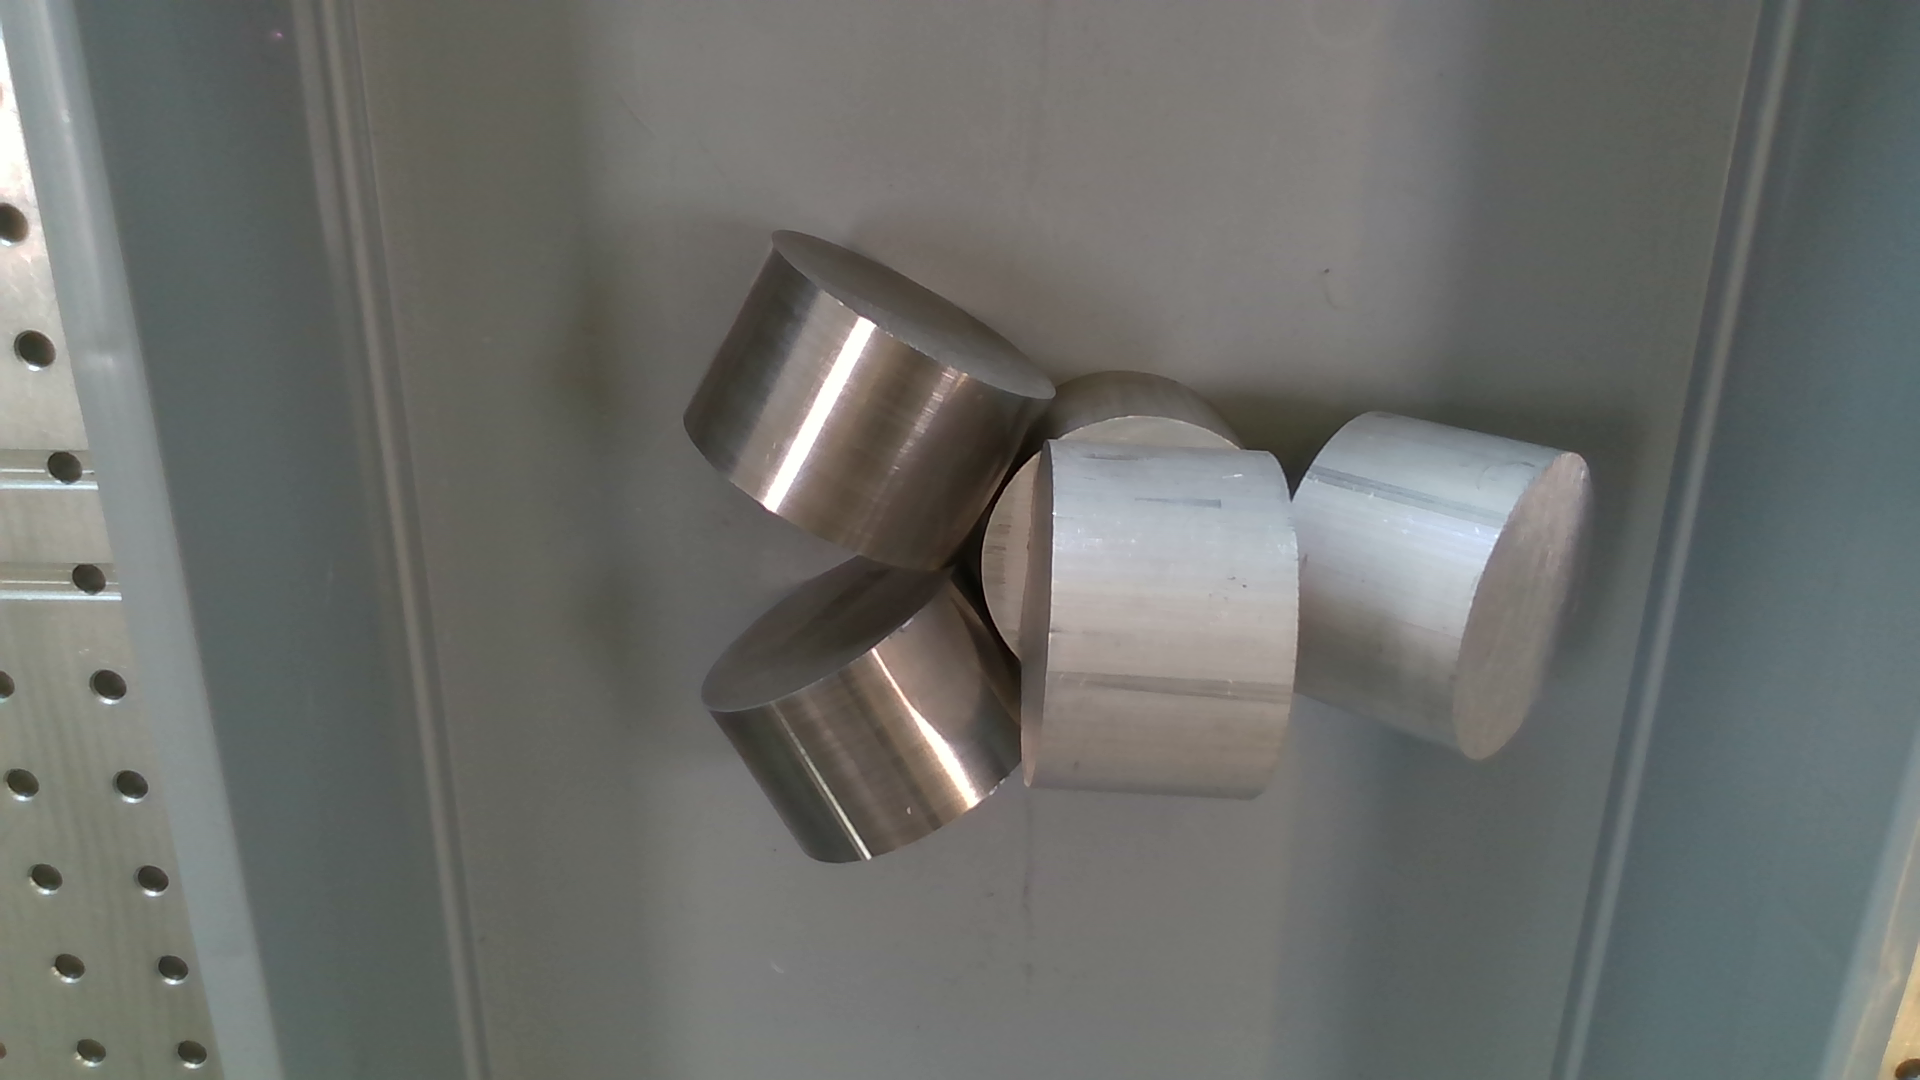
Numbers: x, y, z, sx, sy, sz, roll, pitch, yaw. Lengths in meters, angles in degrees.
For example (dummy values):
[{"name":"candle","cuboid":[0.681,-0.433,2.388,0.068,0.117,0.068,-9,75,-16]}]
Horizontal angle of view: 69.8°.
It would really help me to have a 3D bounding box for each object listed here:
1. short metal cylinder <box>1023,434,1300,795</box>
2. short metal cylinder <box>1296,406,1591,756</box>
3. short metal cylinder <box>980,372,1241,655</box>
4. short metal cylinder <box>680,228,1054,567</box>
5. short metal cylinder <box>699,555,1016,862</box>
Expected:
[{"name":"short metal cylinder","cuboid":[0.042,0.017,0.316,0.050,0.080,0.080,3,110,-1]},{"name":"short metal cylinder","cuboid":[0.123,0.010,0.360,0.050,0.080,0.080,21,116,38]},{"name":"short metal cylinder","cuboid":[0.045,-0.002,0.377,0.080,0.050,0.080,0,110,0]},{"name":"short metal cylinder","cuboid":[-0.023,-0.037,0.349,0.080,0.080,0.050,27,107,-10]},{"name":"short metal cylinder","cuboid":[-0.024,0.042,0.379,0.080,0.080,0.050,-27,107,9]}]
